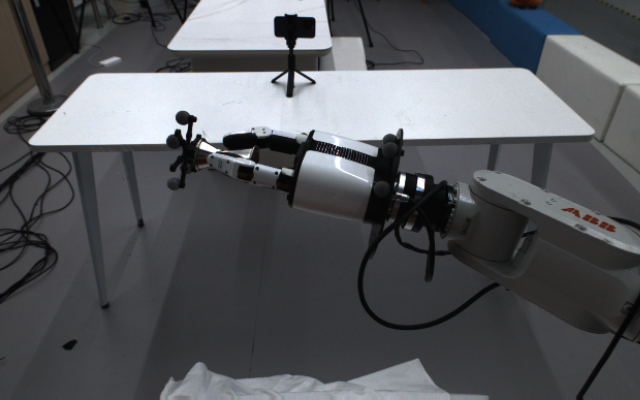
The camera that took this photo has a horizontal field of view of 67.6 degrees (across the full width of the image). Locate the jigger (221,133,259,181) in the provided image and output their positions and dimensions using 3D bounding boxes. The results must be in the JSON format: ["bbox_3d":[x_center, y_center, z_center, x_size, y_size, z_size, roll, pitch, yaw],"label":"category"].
[{"bbox_3d":[-0.105,-0.052,0.587,0.071,0.043,0.043,9,35,3],"label":"jigger"}]
